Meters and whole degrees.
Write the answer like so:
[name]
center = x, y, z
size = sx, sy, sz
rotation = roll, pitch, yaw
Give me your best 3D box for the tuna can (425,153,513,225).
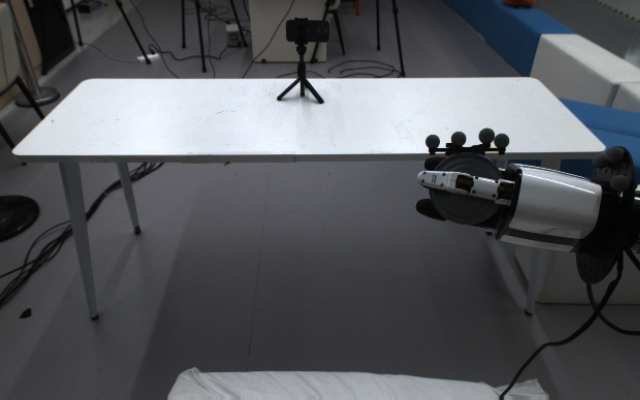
[tuna can]
center = 0.177, -0.015, 0.586
size = 0.085, 0.085, 0.034
rotation = 13, 0, 15
